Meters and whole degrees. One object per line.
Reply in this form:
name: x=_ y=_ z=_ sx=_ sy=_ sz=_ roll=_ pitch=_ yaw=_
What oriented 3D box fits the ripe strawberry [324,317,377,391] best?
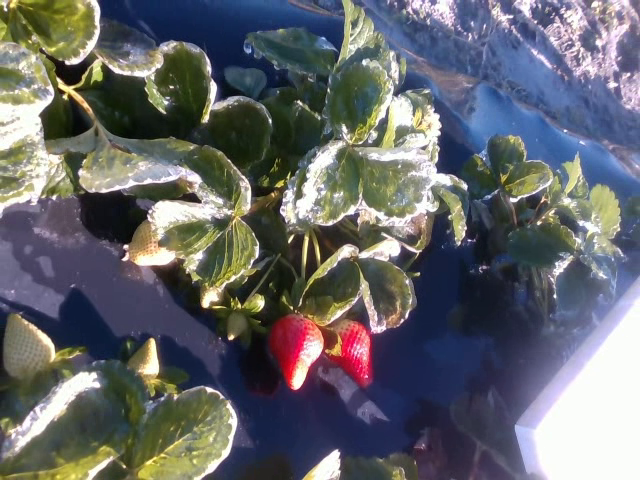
ripe strawberry: x=0.033 y=0.097 z=0.524 sx=0.043 sy=0.059 sz=0.040 roll=-30 pitch=13 yaw=-34

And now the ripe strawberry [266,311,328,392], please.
ripe strawberry: x=-0.015 y=0.095 z=0.499 sx=0.040 sy=0.070 sz=0.052 roll=-5 pitch=-26 yaw=43
